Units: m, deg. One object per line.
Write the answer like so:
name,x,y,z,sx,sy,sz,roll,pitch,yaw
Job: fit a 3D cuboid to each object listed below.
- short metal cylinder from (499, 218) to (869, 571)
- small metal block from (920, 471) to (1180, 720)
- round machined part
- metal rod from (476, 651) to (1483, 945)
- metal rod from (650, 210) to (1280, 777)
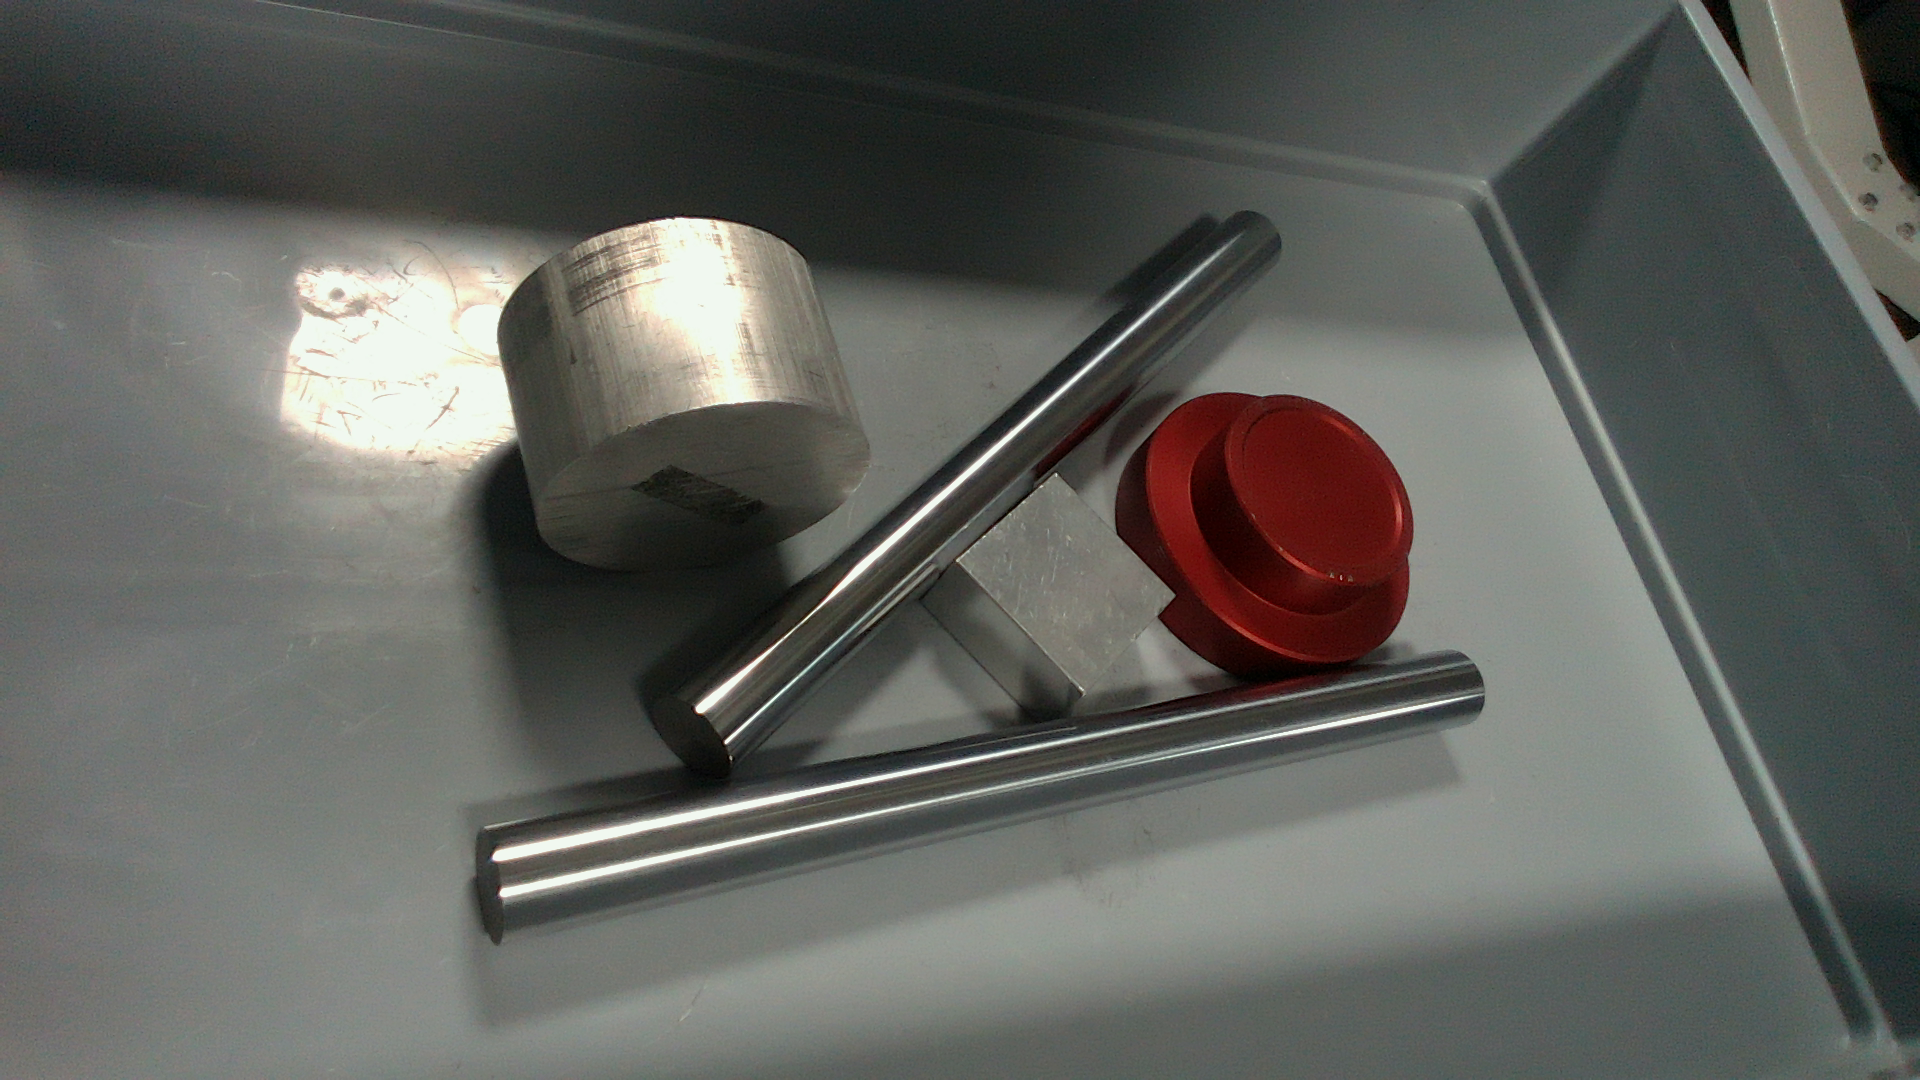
short metal cylinder,-0.068,-0.033,0.338,0.080,0.080,0.050,-5,64,-30
small metal block,0.026,0.017,0.391,0.050,0.025,0.050,46,51,4
round machined part,0.103,-0.007,0.435,0.098,0.042,0.098,14,56,-21
metal rod,0.030,0.060,0.367,0.301,0.025,0.025,-6,64,-31
metal rod,0.022,-0.032,0.420,0.025,0.025,0.301,45,51,3
